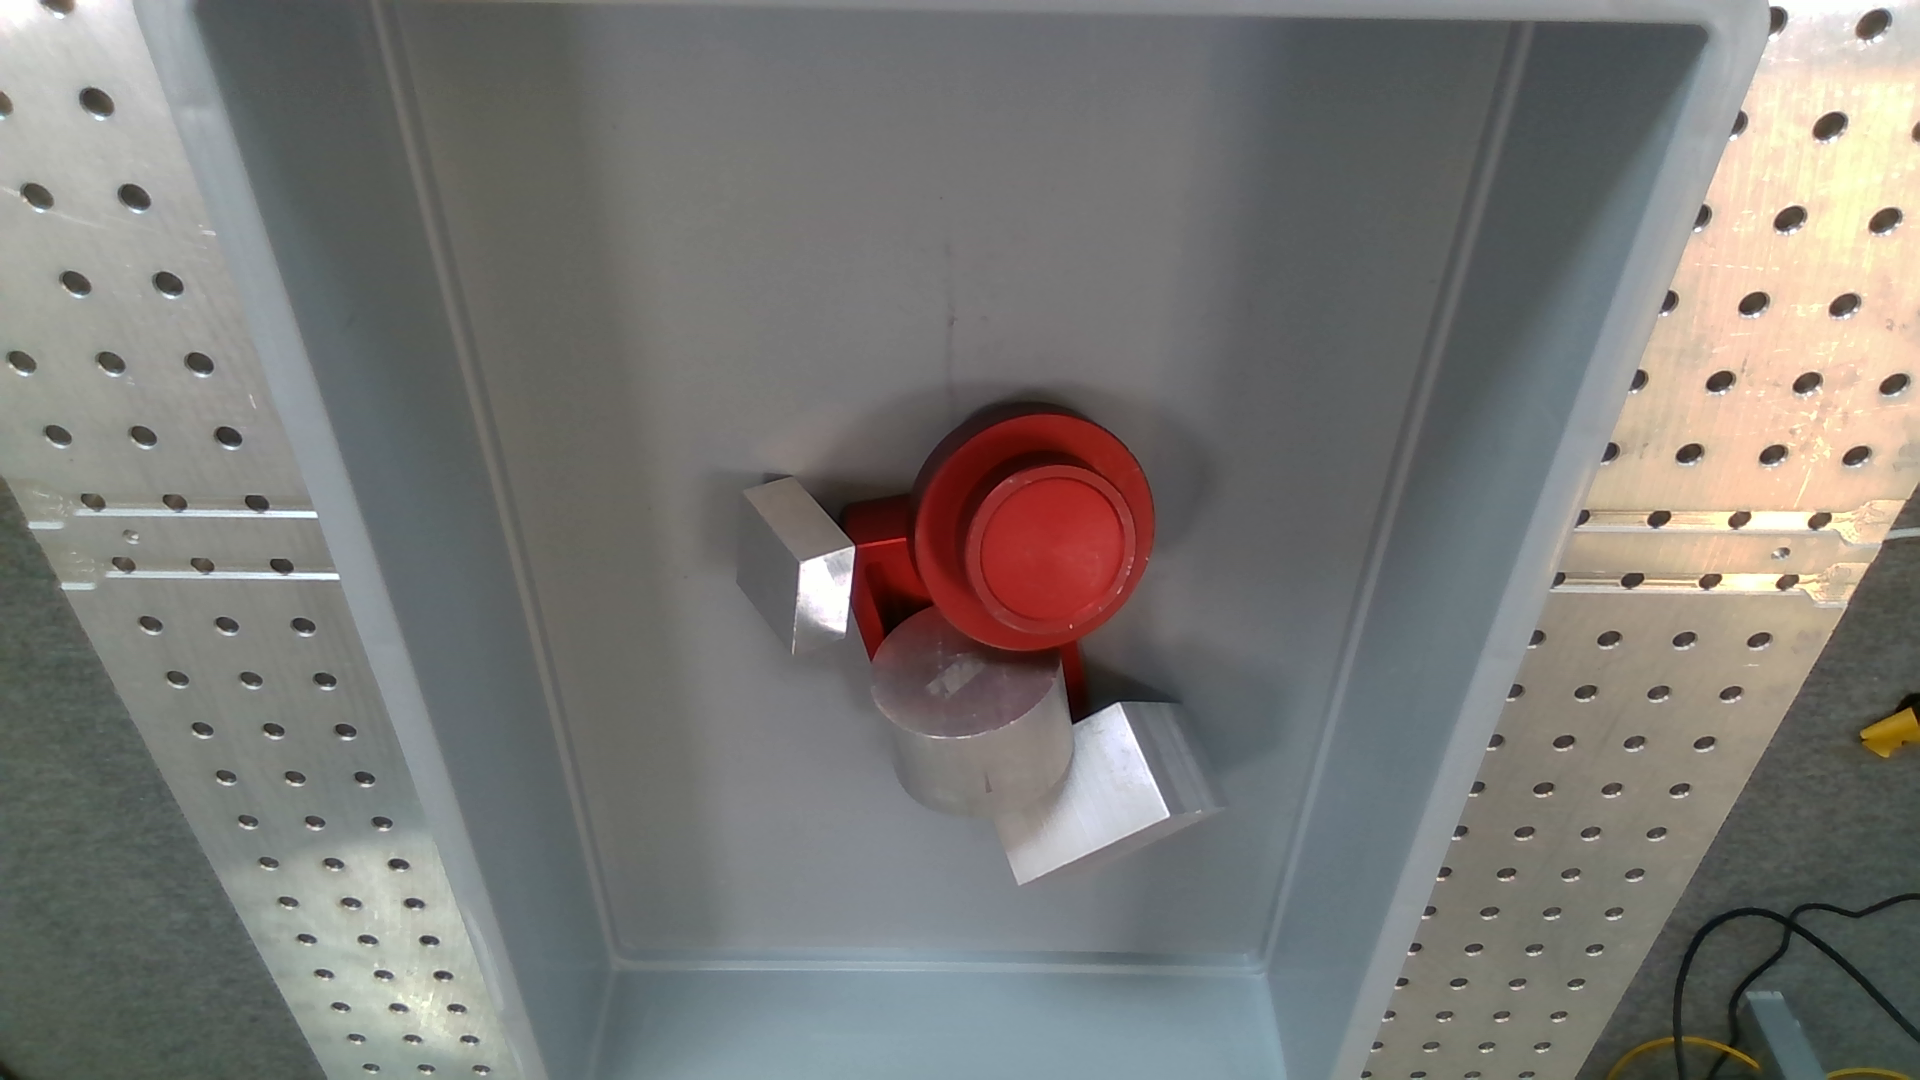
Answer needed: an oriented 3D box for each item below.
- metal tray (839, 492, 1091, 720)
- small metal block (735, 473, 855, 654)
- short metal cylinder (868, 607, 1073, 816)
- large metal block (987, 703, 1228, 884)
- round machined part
[{"bbox_3d":[0.004,0.035,0.606,0.090,0.030,0.130,-9,130,7],"label":"metal tray"},{"bbox_3d":[-0.069,0.009,0.567,0.025,0.050,0.050,-19,137,-31],"label":"small metal block"},{"bbox_3d":[0.005,0.069,0.585,0.080,0.080,0.050,-7,130,6],"label":"short metal cylinder"},{"bbox_3d":[0.066,0.115,0.633,0.080,0.050,0.080,-31,160,24],"label":"large metal block"},{"bbox_3d":[0.030,-0.003,0.540,0.098,0.042,0.098,-4,107,-13],"label":"round machined part"}]
